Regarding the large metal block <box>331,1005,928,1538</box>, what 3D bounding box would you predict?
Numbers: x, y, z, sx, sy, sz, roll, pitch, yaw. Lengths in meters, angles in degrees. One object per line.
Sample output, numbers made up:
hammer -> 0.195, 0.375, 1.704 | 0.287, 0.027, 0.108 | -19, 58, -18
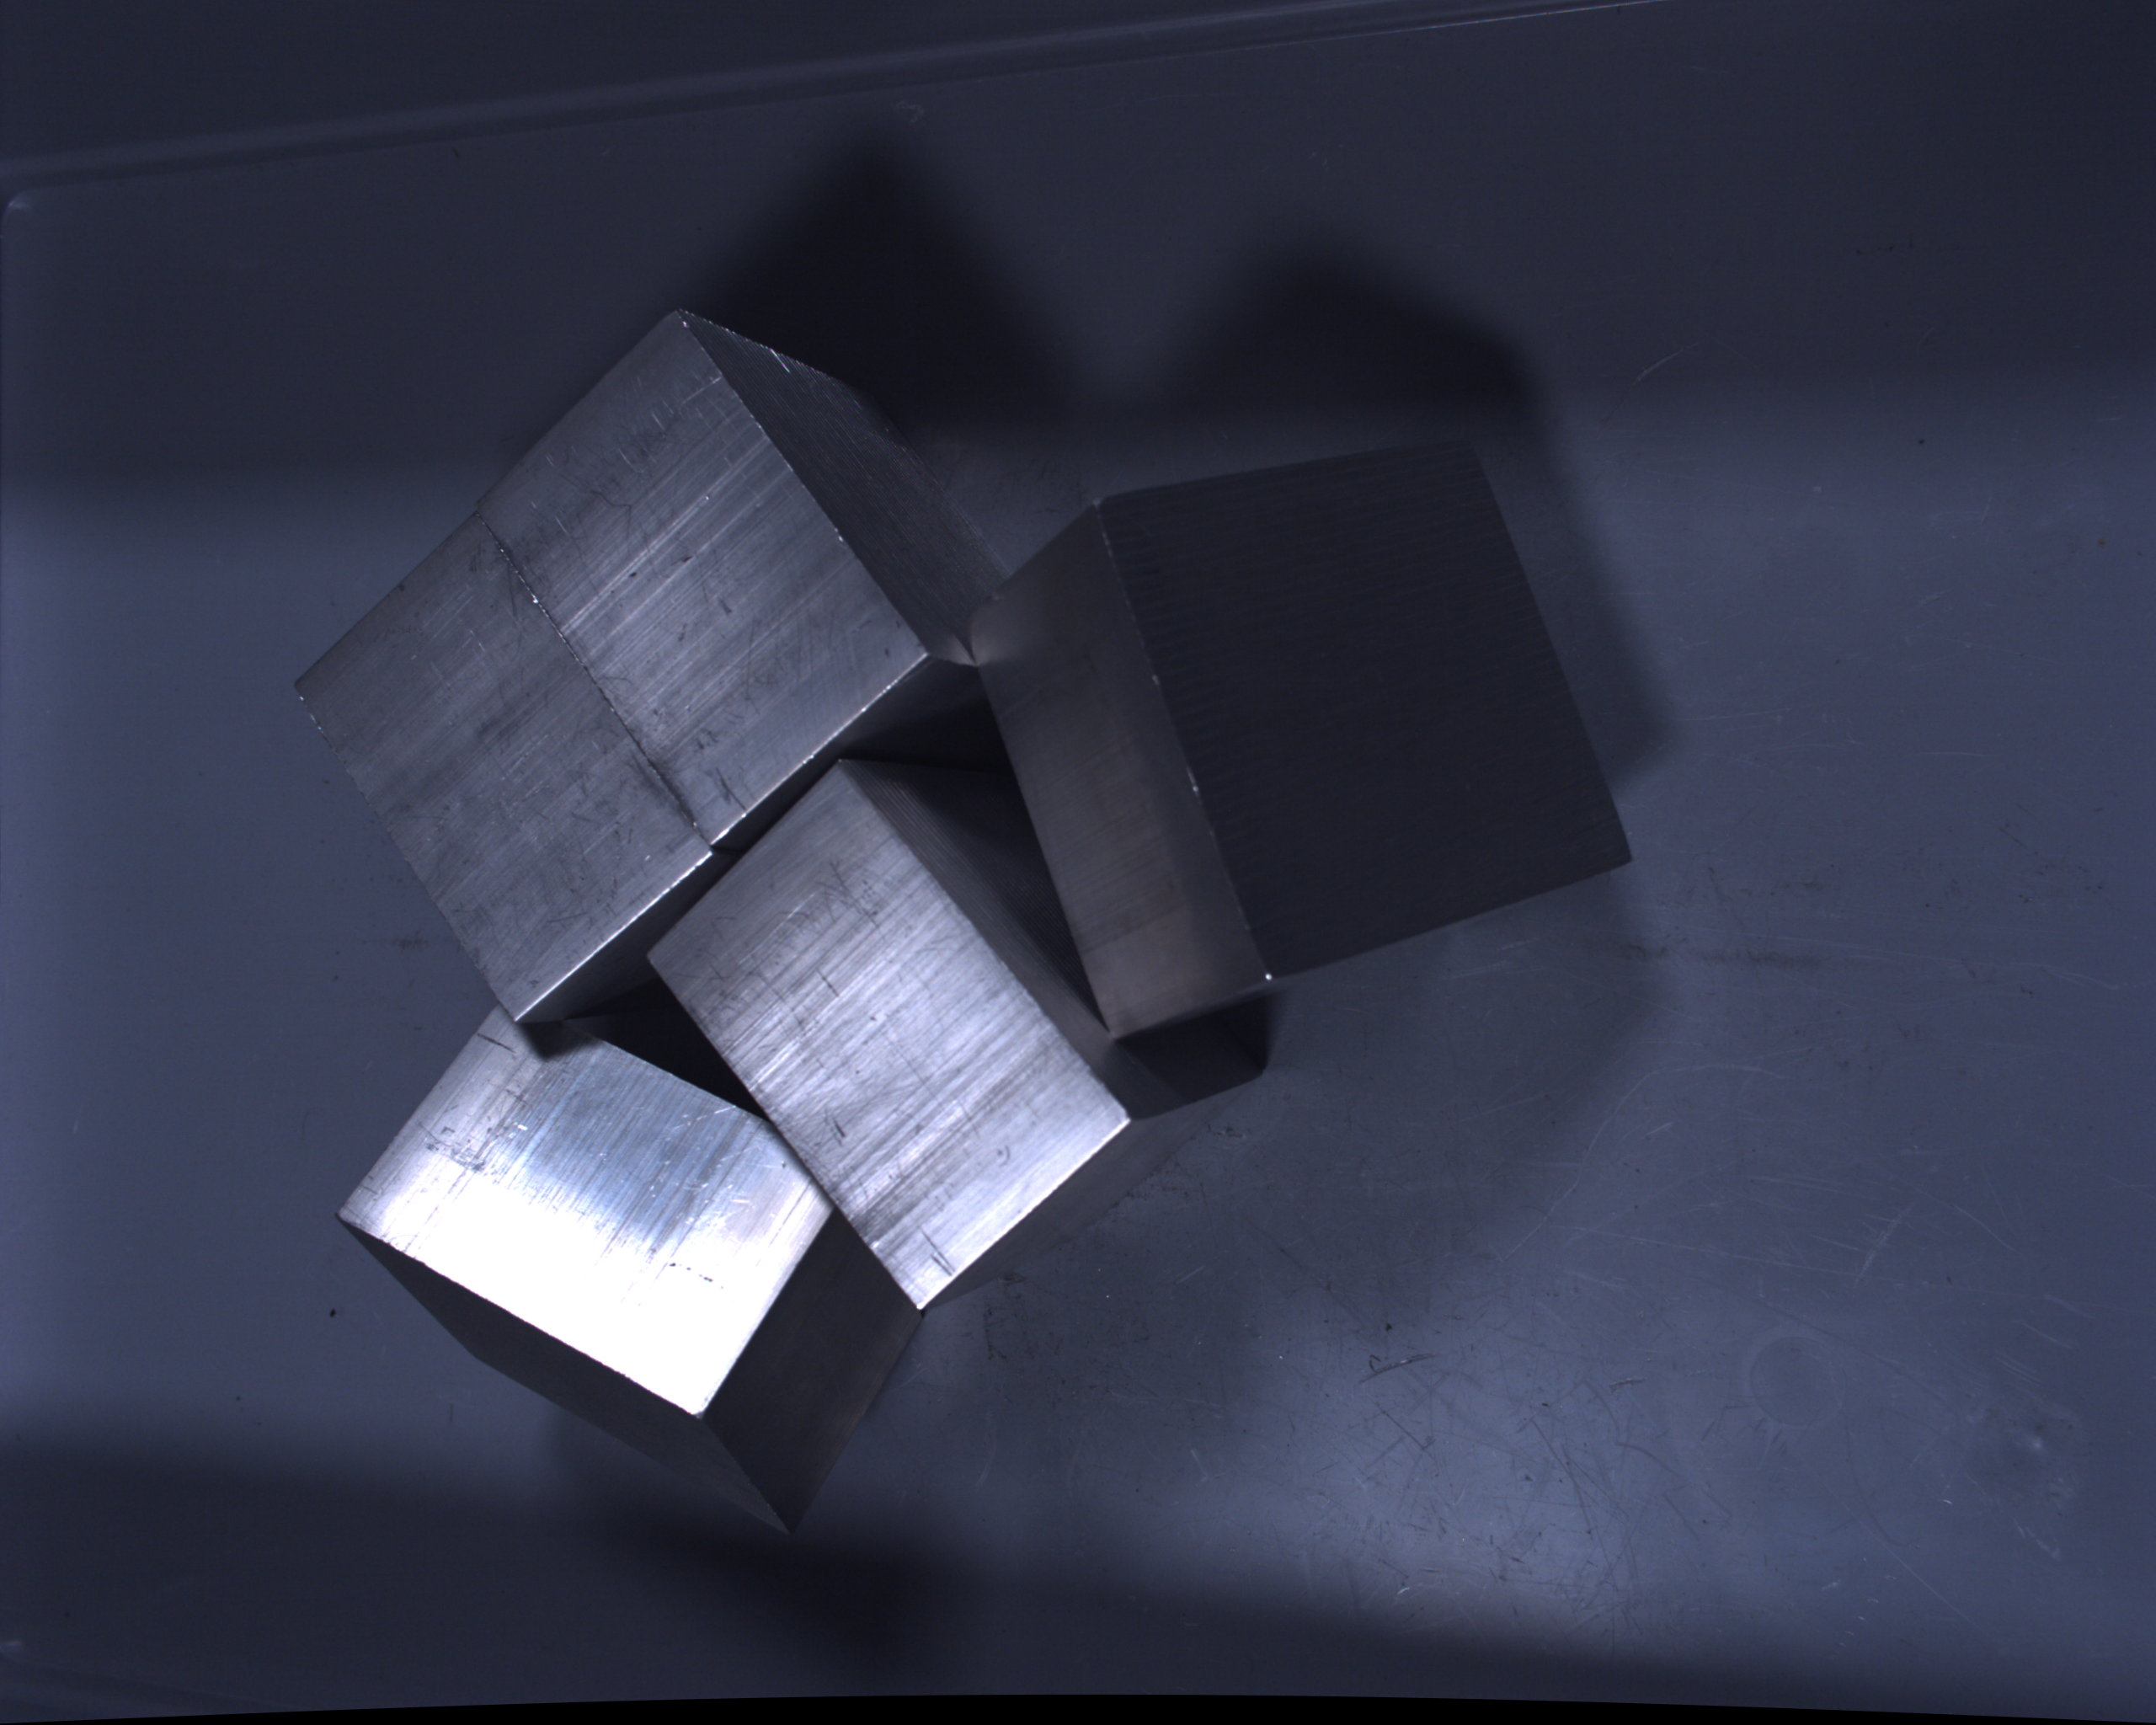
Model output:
large metal block -> -0.081, 0.078, 0.400 | 0.080, 0.080, 0.050 | 23, 63, 18

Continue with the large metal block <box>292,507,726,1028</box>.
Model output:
large metal block -> -0.091, -0.017, 0.411 | 0.050, 0.080, 0.080 | -39, 78, 16

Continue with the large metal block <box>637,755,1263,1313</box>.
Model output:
large metal block -> -0.020, 0.028, 0.385 | 0.050, 0.080, 0.080 | -43, 77, 15

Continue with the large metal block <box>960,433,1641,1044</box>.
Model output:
large metal block -> 0.038, -0.022, 0.359 | 0.050, 0.081, 0.080 | -30, 77, 58

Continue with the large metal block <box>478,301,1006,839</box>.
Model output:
large metal block -> -0.052, -0.051, 0.397 | 0.050, 0.080, 0.080 | -40, 78, 15
